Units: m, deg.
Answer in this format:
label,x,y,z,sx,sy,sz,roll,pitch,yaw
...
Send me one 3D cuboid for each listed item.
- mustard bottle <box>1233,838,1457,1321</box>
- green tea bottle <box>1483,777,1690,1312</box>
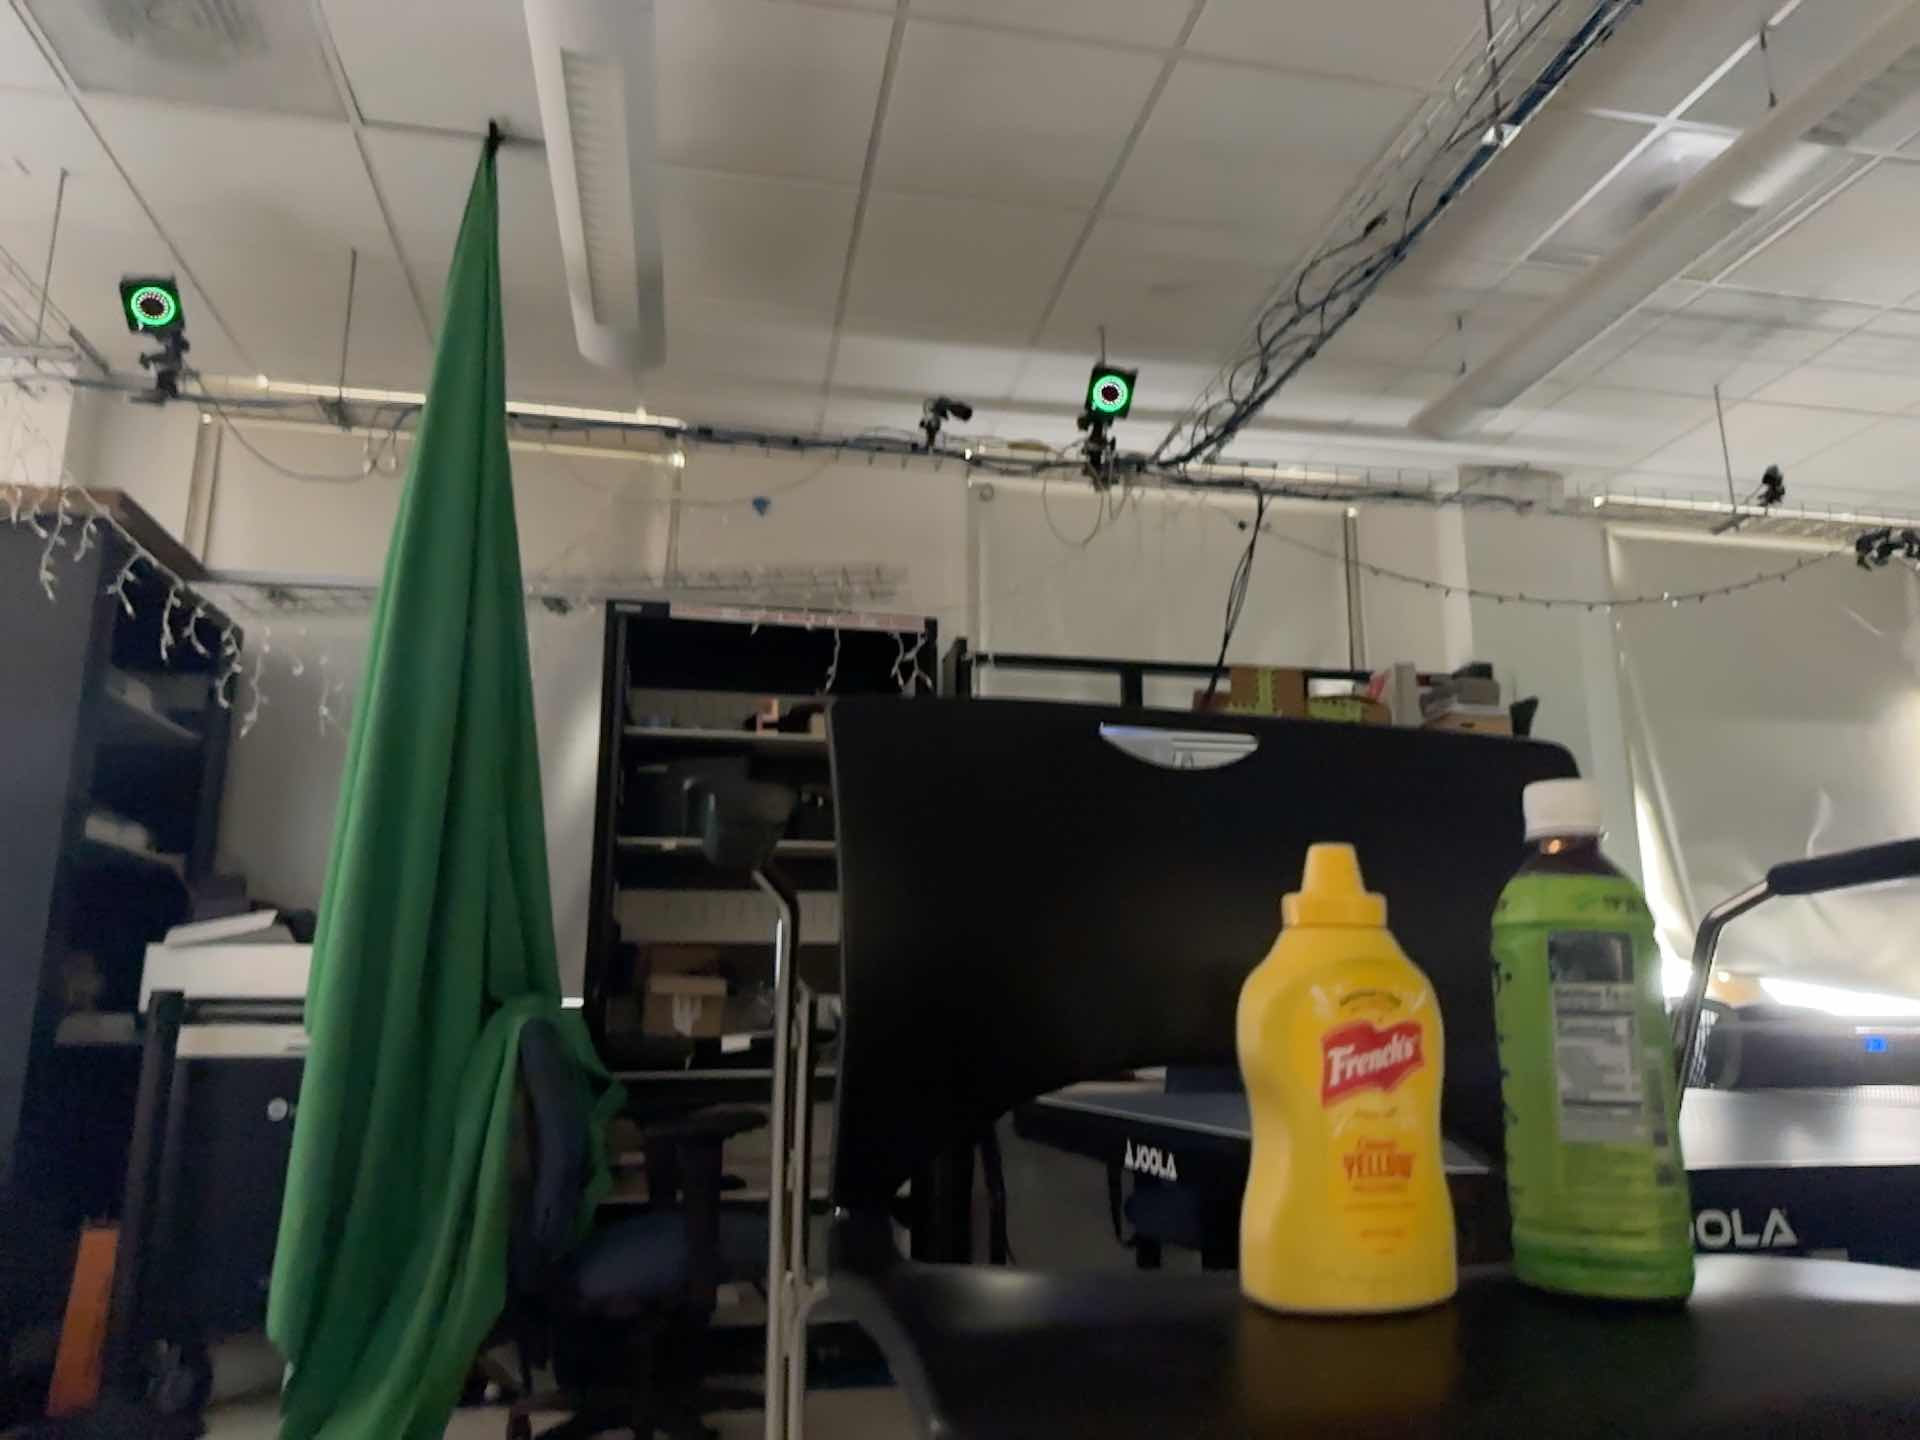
label,x,y,z,sx,sy,sz,roll,pitch,yaw
mustard bottle,0.152,0.140,0.547,0.092,0.184,0.054,3,-10,-15
green tea bottle,0.260,0.130,0.568,0.073,0.212,0.073,2,-10,0
